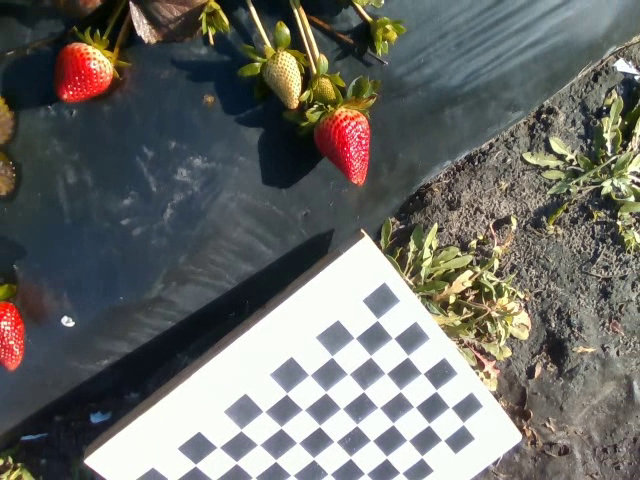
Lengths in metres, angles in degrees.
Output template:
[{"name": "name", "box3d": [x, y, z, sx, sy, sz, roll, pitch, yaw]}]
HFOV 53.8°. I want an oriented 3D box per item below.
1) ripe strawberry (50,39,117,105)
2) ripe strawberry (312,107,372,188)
[{"name": "ripe strawberry", "box3d": [-0.143, -0.099, 0.376, 0.046, 0.035, 0.035, -43, 23, -6]}, {"name": "ripe strawberry", "box3d": [0.015, -0.058, 0.400, 0.042, 0.059, 0.042, -20, 12, -10]}]
